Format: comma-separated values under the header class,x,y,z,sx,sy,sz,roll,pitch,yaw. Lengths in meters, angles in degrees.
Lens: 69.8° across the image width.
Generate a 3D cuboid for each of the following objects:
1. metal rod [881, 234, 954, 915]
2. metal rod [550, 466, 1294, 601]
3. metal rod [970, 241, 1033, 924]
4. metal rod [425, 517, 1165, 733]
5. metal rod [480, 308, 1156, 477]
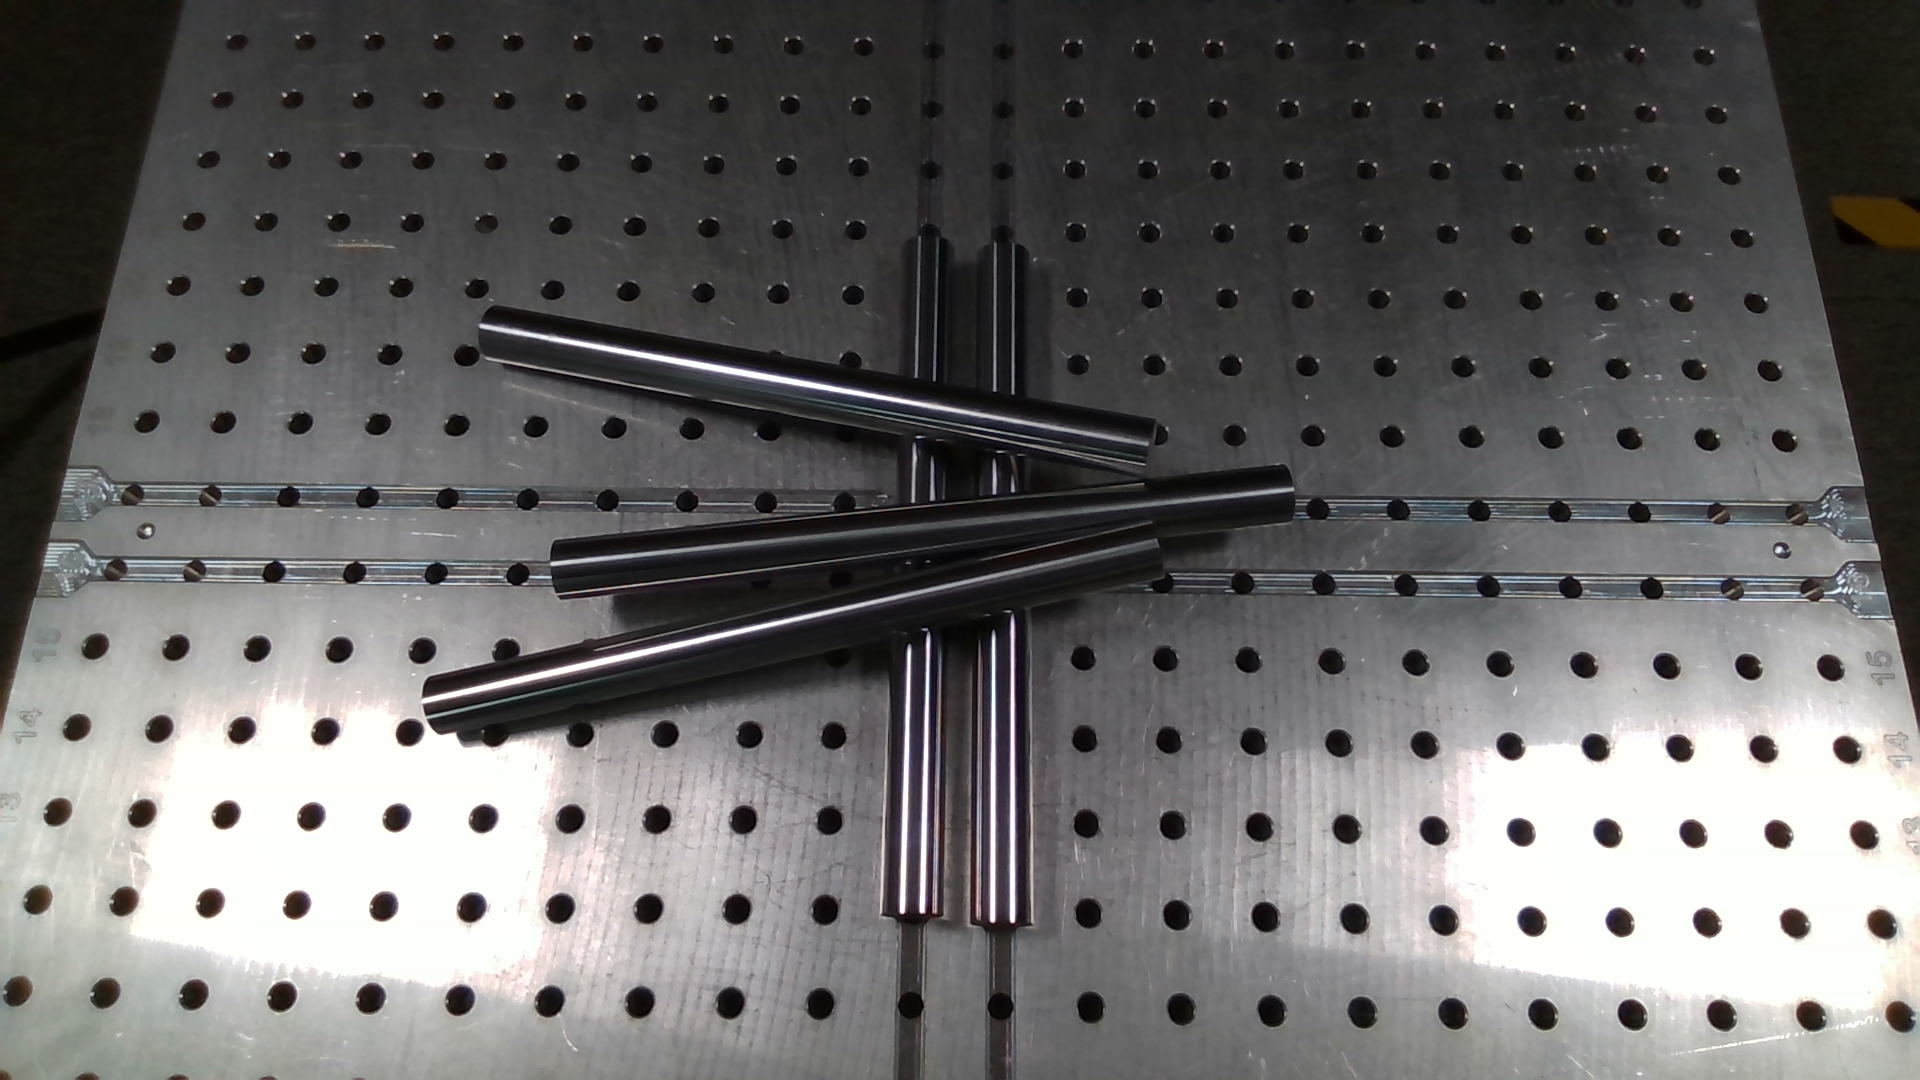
class,x,y,z,sx,sy,sz,roll,pitch,yaw
metal rod,-0.017,0.006,0.589,0.025,0.025,0.299,1,70,0
metal rod,-0.014,-0.003,0.566,0.300,0.025,0.025,-6,70,-2
metal rod,0.018,0.009,0.588,0.025,0.025,0.299,1,70,0
metal rod,-0.067,0.035,0.558,0.300,0.025,0.025,-12,71,3
metal rod,-0.066,-0.065,0.594,0.300,0.025,0.025,11,70,11
